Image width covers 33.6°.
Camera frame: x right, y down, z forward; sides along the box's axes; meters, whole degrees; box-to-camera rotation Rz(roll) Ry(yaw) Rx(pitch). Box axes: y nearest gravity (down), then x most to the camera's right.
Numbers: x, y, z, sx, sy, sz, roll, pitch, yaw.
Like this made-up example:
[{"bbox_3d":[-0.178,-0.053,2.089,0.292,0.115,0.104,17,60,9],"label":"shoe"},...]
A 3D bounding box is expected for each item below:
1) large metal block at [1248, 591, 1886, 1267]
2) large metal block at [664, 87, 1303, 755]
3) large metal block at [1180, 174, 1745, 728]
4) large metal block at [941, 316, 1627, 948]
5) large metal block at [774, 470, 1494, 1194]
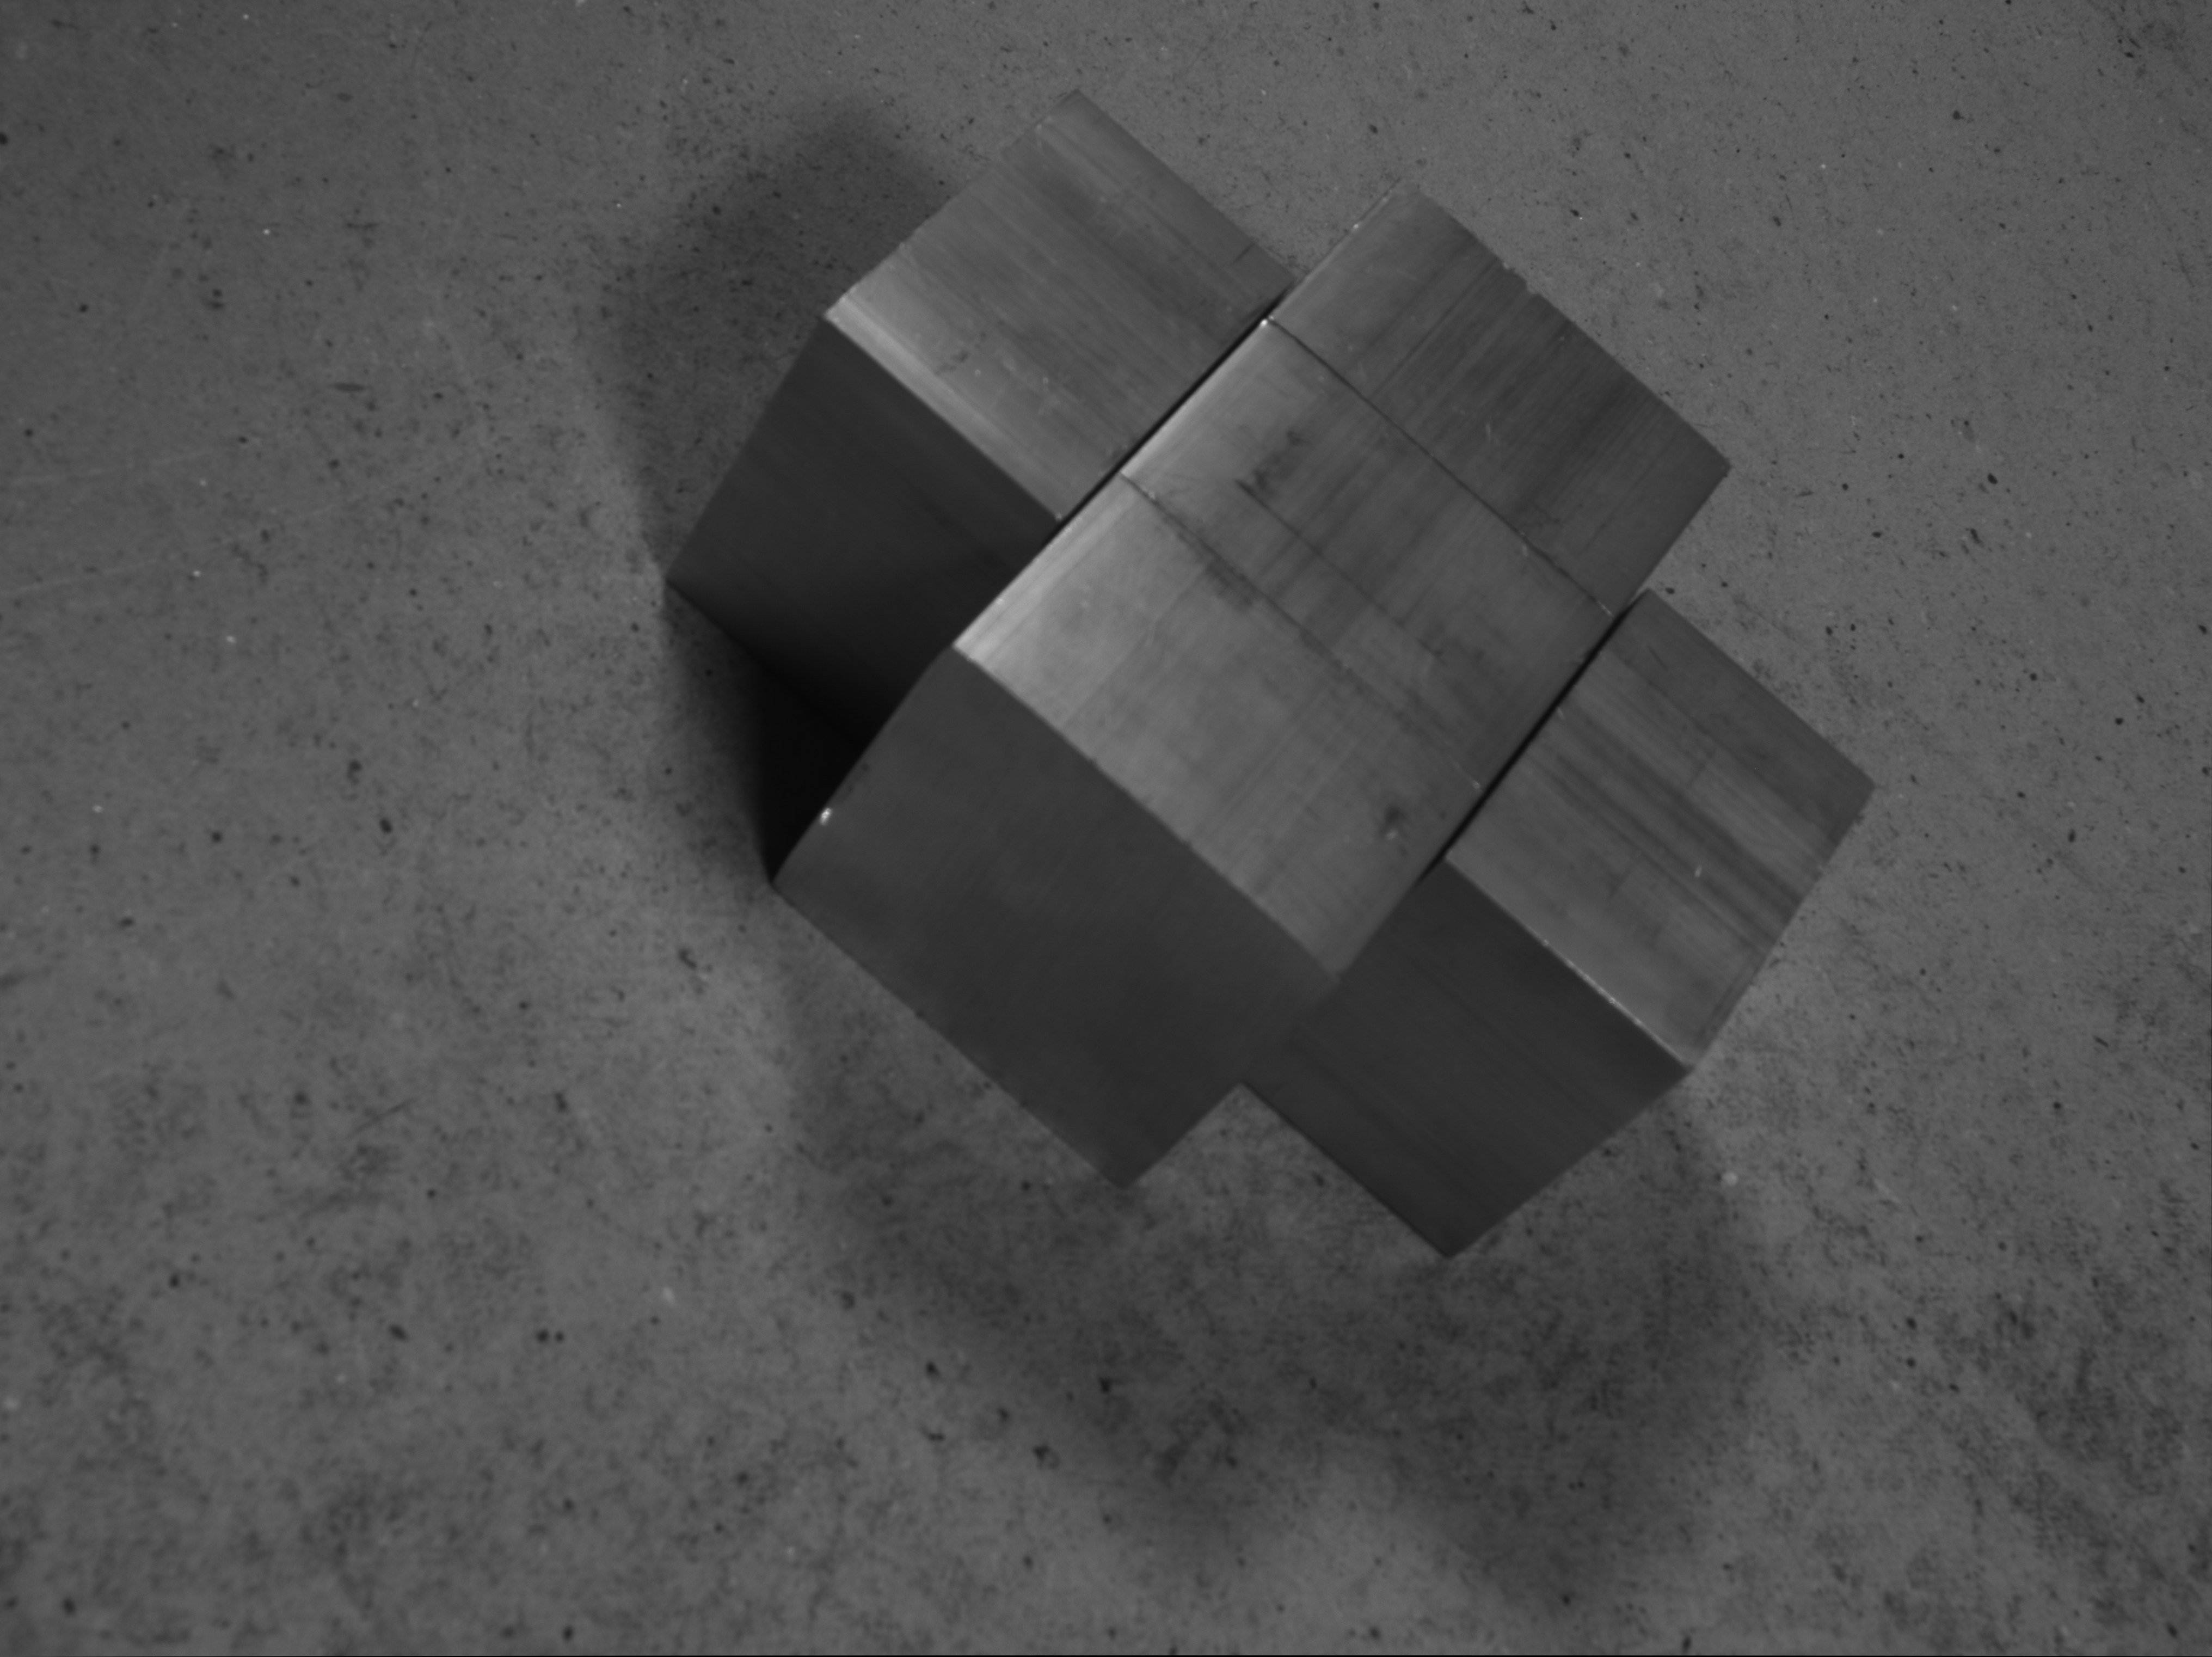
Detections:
[{"bbox_3d":[0.079,0.018,0.636,0.050,0.080,0.080,41,51,0],"label":"large metal block"},{"bbox_3d":[-0.022,-0.069,0.636,0.050,0.080,0.080,41,51,0],"label":"large metal block"},{"bbox_3d":[0.055,-0.057,0.670,0.080,0.080,0.050,41,51,0],"label":"large metal block"},{"bbox_3d":[0.029,-0.027,0.638,0.080,0.080,0.050,41,51,0],"label":"large metal block"},{"bbox_3d":[0.003,0.002,0.606,0.080,0.080,0.050,41,51,0],"label":"large metal block"}]
